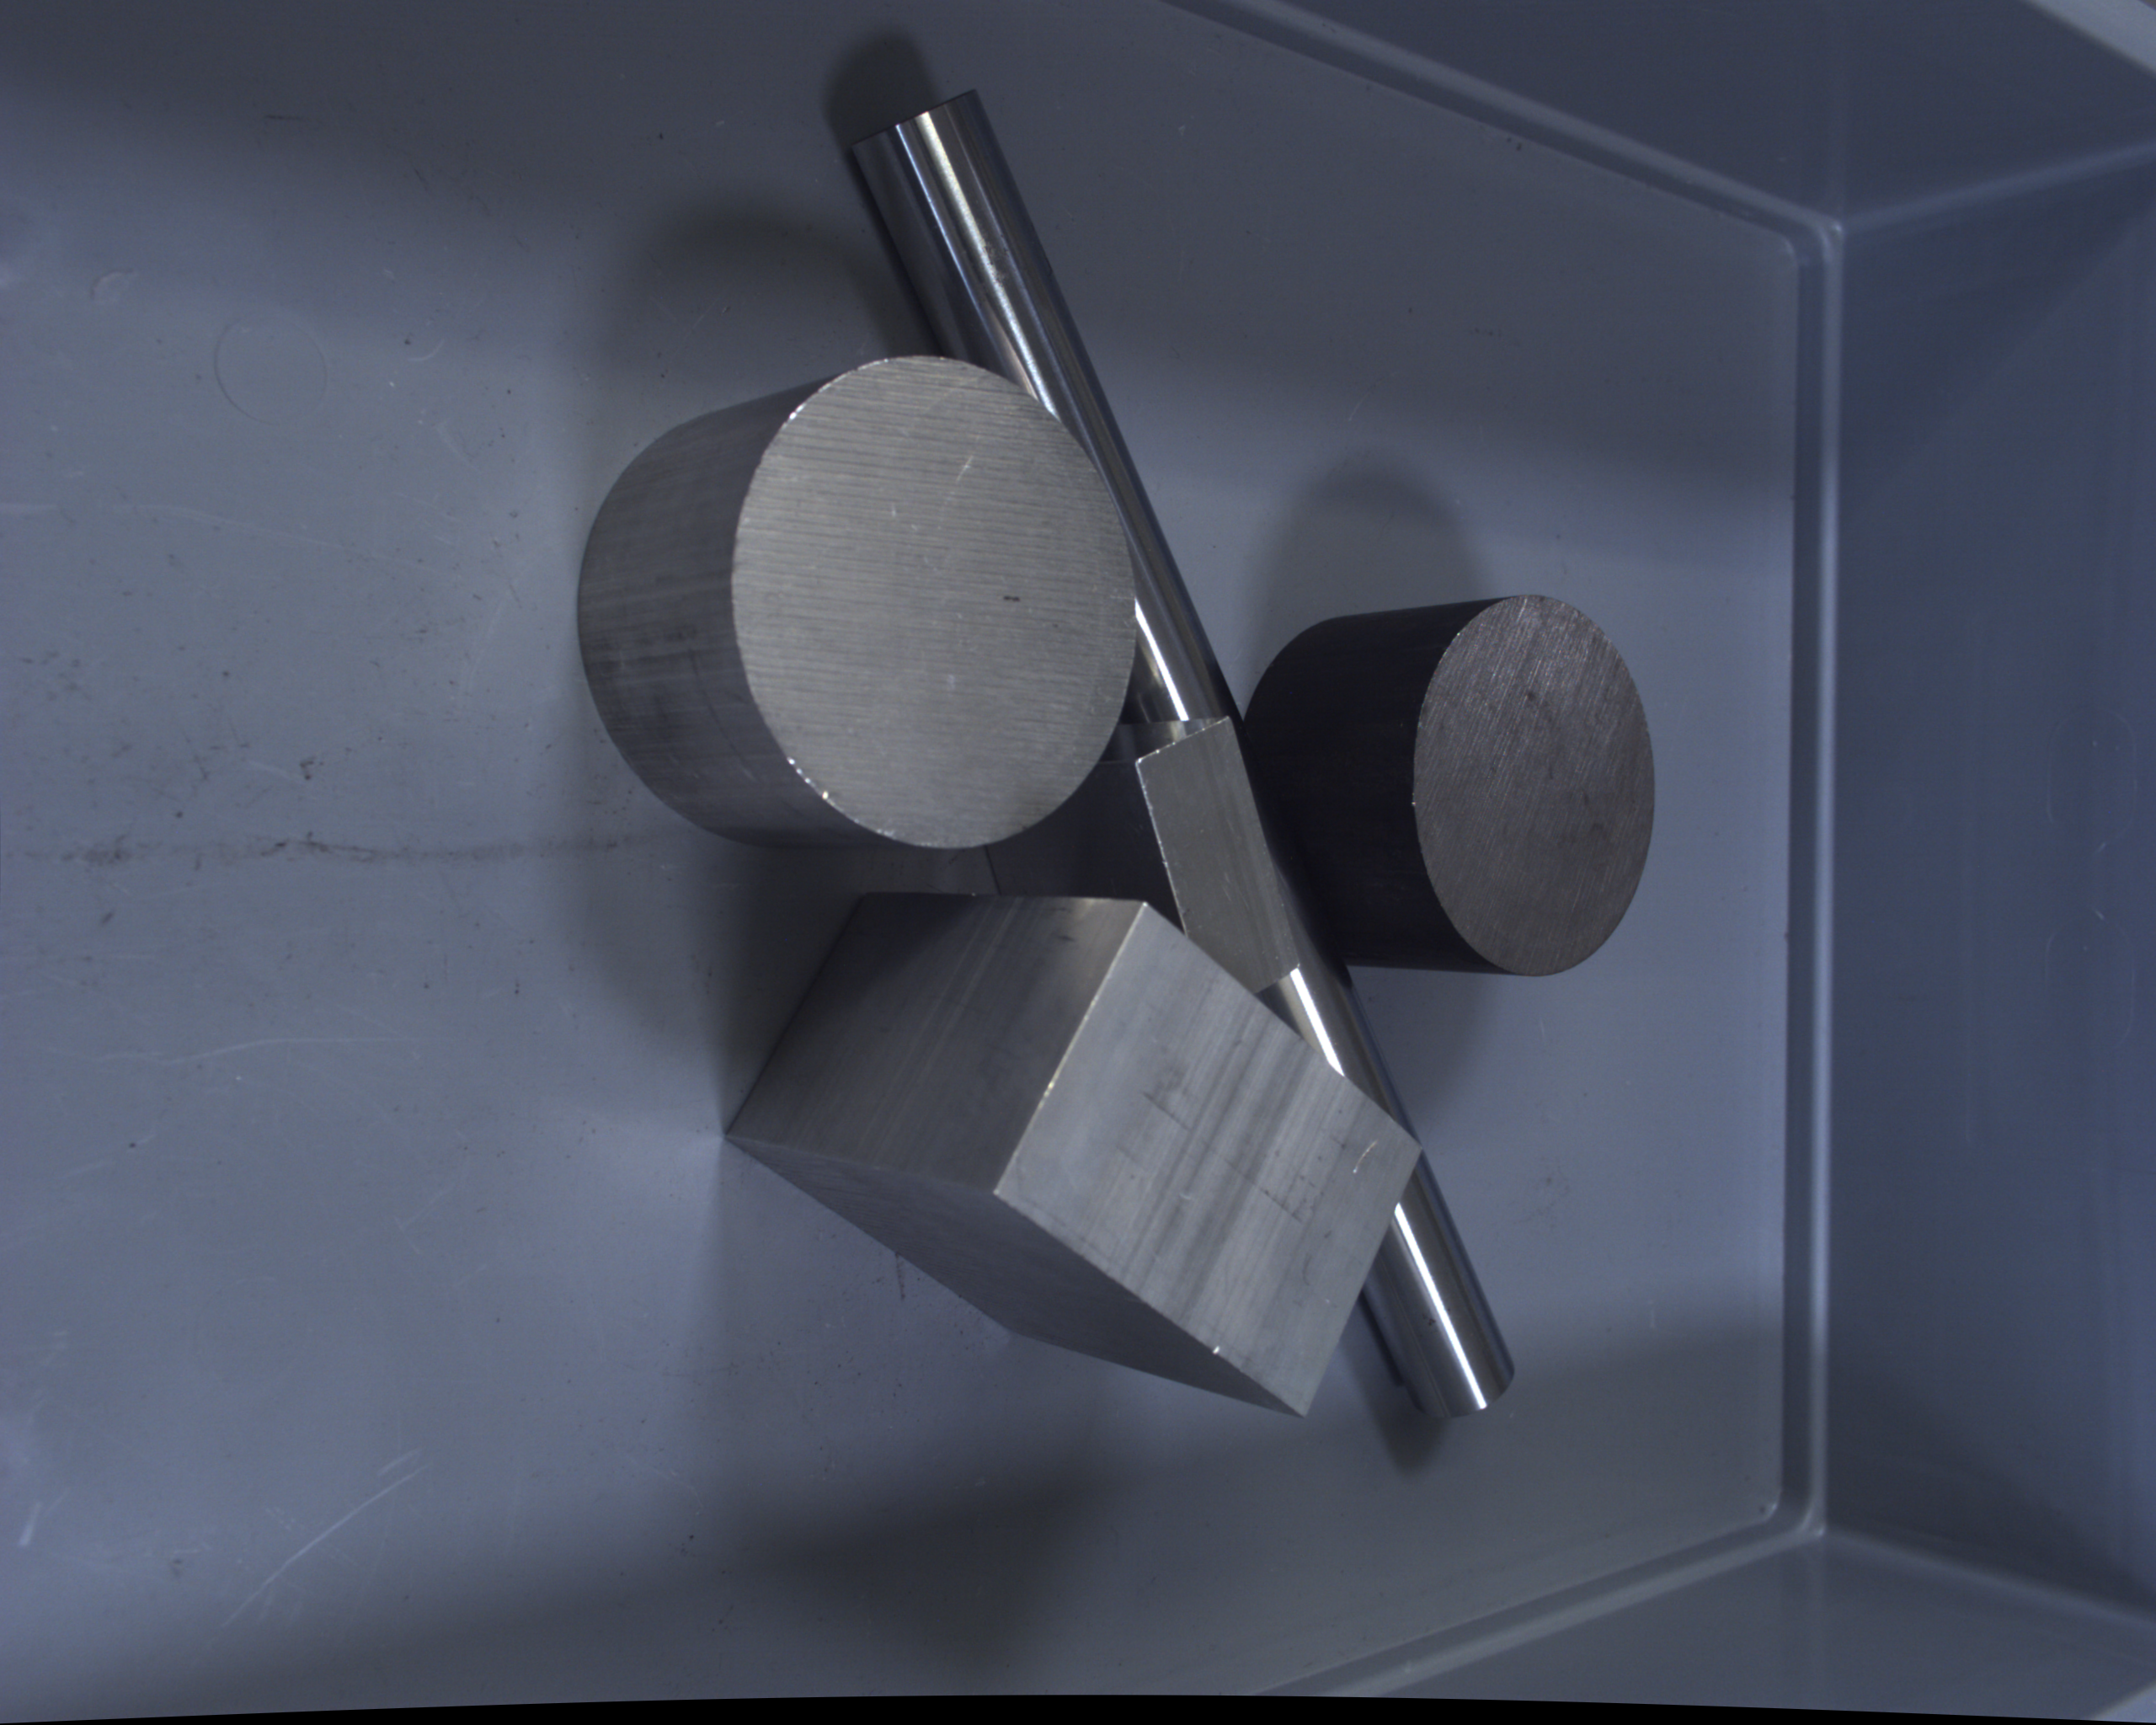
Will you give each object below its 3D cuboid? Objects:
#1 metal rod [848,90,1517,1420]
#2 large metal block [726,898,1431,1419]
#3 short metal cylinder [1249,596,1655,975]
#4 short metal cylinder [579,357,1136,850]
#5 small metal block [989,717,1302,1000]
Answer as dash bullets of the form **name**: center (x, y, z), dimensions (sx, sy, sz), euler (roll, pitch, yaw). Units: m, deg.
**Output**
- **metal rod**: center (0.029, -0.008, 0.429), dimensions (0.025, 0.025, 0.299), euler (-39, 114, -33)
- **large metal block**: center (0.000, 0.050, 0.368), dimensions (0.080, 0.080, 0.050), euler (41, 66, -32)
- **short metal cylinder**: center (0.081, -0.016, 0.456), dimensions (0.081, 0.050, 0.079), euler (0, 90, -40)
- **short metal cylinder**: center (-0.037, -0.042, 0.357), dimensions (0.081, 0.050, 0.079), euler (0, 90, -40)
- **small metal block**: center (0.010, 0.001, 0.396), dimensions (0.025, 0.050, 0.050), euler (-27, 107, -37)
